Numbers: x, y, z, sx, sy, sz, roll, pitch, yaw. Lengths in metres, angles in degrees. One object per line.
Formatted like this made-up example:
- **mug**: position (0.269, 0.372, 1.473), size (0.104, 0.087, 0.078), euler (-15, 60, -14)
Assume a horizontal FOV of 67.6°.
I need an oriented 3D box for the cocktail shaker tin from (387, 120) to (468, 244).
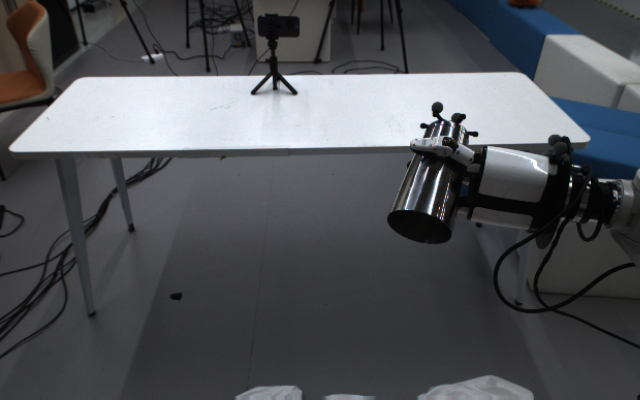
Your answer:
- **cocktail shaker tin**: position (0.167, -0.033, 0.705), size (0.093, 0.093, 0.170), euler (15, 63, 17)
